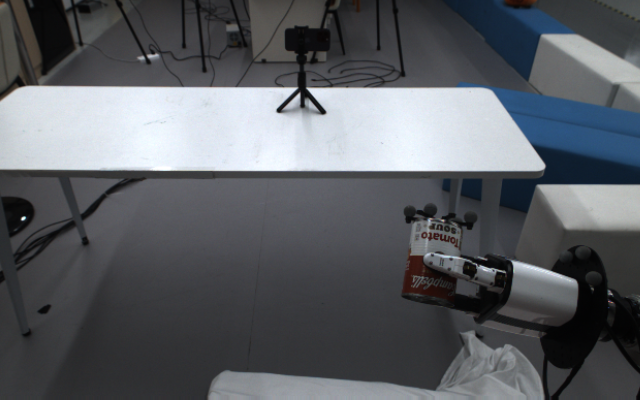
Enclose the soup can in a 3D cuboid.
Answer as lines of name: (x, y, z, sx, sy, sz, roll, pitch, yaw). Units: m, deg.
soup can: (0.149, 0.079, 0.630, 0.067, 0.067, 0.101, 8, 74, 9)
